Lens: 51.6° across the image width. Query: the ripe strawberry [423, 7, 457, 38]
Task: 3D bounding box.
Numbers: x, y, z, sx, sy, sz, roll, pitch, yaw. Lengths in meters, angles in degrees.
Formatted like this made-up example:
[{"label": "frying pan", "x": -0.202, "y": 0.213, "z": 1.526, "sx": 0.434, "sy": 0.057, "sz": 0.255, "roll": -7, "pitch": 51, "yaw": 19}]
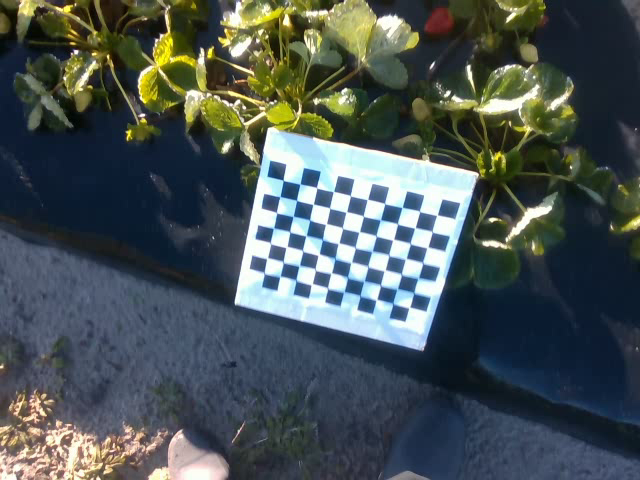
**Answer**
[{"label": "ripe strawberry", "x": 0.150, "y": -0.282, "z": 0.839, "sx": 0.047, "sy": 0.039, "sz": 0.040, "roll": -39, "pitch": 8, "yaw": 0}]
